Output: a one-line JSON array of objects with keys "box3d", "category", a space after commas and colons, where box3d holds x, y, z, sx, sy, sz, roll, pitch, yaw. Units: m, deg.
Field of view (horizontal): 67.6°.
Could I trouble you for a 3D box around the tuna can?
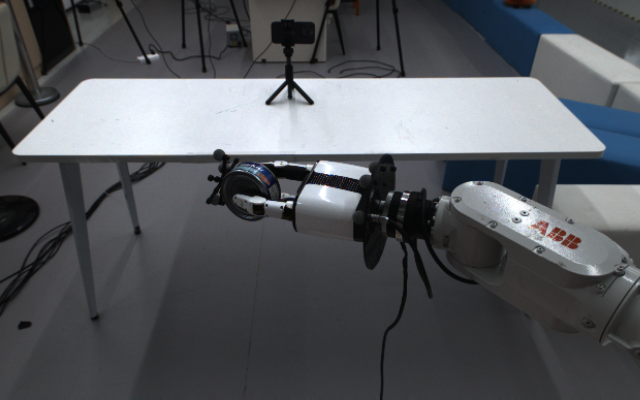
[{"box3d": [-0.101, -0.014, 0.718, 0.085, 0.085, 0.034, 13, 31, 16], "category": "tuna can"}]
